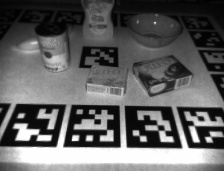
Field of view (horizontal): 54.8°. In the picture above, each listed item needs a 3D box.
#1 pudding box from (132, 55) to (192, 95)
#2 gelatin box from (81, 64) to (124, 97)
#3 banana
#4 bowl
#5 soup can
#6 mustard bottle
[{"bbox_3d":[0.117,-0.031,0.523,0.115,0.039,0.089,-15,52,-18],"label":"pudding box"},{"bbox_3d":[-0.020,-0.013,0.501,0.089,0.030,0.073,7,47,4],"label":"gelatin box"},{"bbox_3d":[-0.188,-0.156,0.633,0.073,0.039,0.199,27,47,36],"label":"banana"},{"bbox_3d":[0.129,-0.164,0.655,0.162,0.055,0.161,1,43,0],"label":"bowl"},{"bbox_3d":[-0.149,-0.107,0.525,0.068,0.102,0.067,3,42,-2],"label":"soup can"},{"bbox_3d":[-0.038,-0.242,0.606,0.096,0.192,0.058,2,41,-1],"label":"mustard bottle"}]
